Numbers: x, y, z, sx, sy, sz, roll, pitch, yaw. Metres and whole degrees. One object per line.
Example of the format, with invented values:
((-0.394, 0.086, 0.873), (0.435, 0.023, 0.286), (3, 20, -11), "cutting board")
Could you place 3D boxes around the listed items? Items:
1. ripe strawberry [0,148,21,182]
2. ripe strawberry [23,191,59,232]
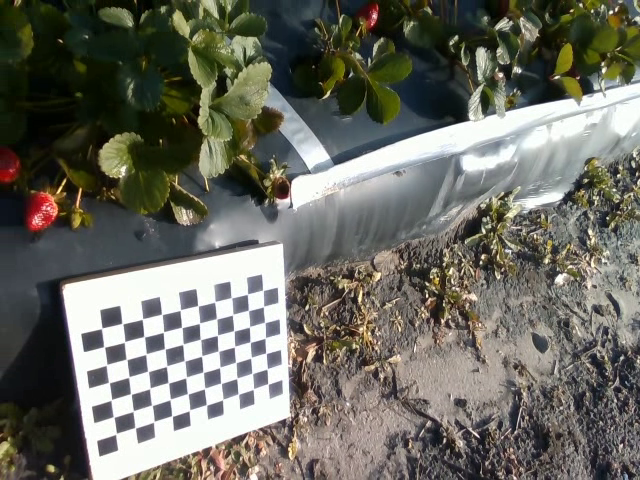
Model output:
((-0.370, -0.086, 0.682), (0.039, 0.048, 0.054), (13, 3, 31), "ripe strawberry")
((-0.326, -0.032, 0.681), (0.038, 0.053, 0.043), (-27, -52, 29), "ripe strawberry")
